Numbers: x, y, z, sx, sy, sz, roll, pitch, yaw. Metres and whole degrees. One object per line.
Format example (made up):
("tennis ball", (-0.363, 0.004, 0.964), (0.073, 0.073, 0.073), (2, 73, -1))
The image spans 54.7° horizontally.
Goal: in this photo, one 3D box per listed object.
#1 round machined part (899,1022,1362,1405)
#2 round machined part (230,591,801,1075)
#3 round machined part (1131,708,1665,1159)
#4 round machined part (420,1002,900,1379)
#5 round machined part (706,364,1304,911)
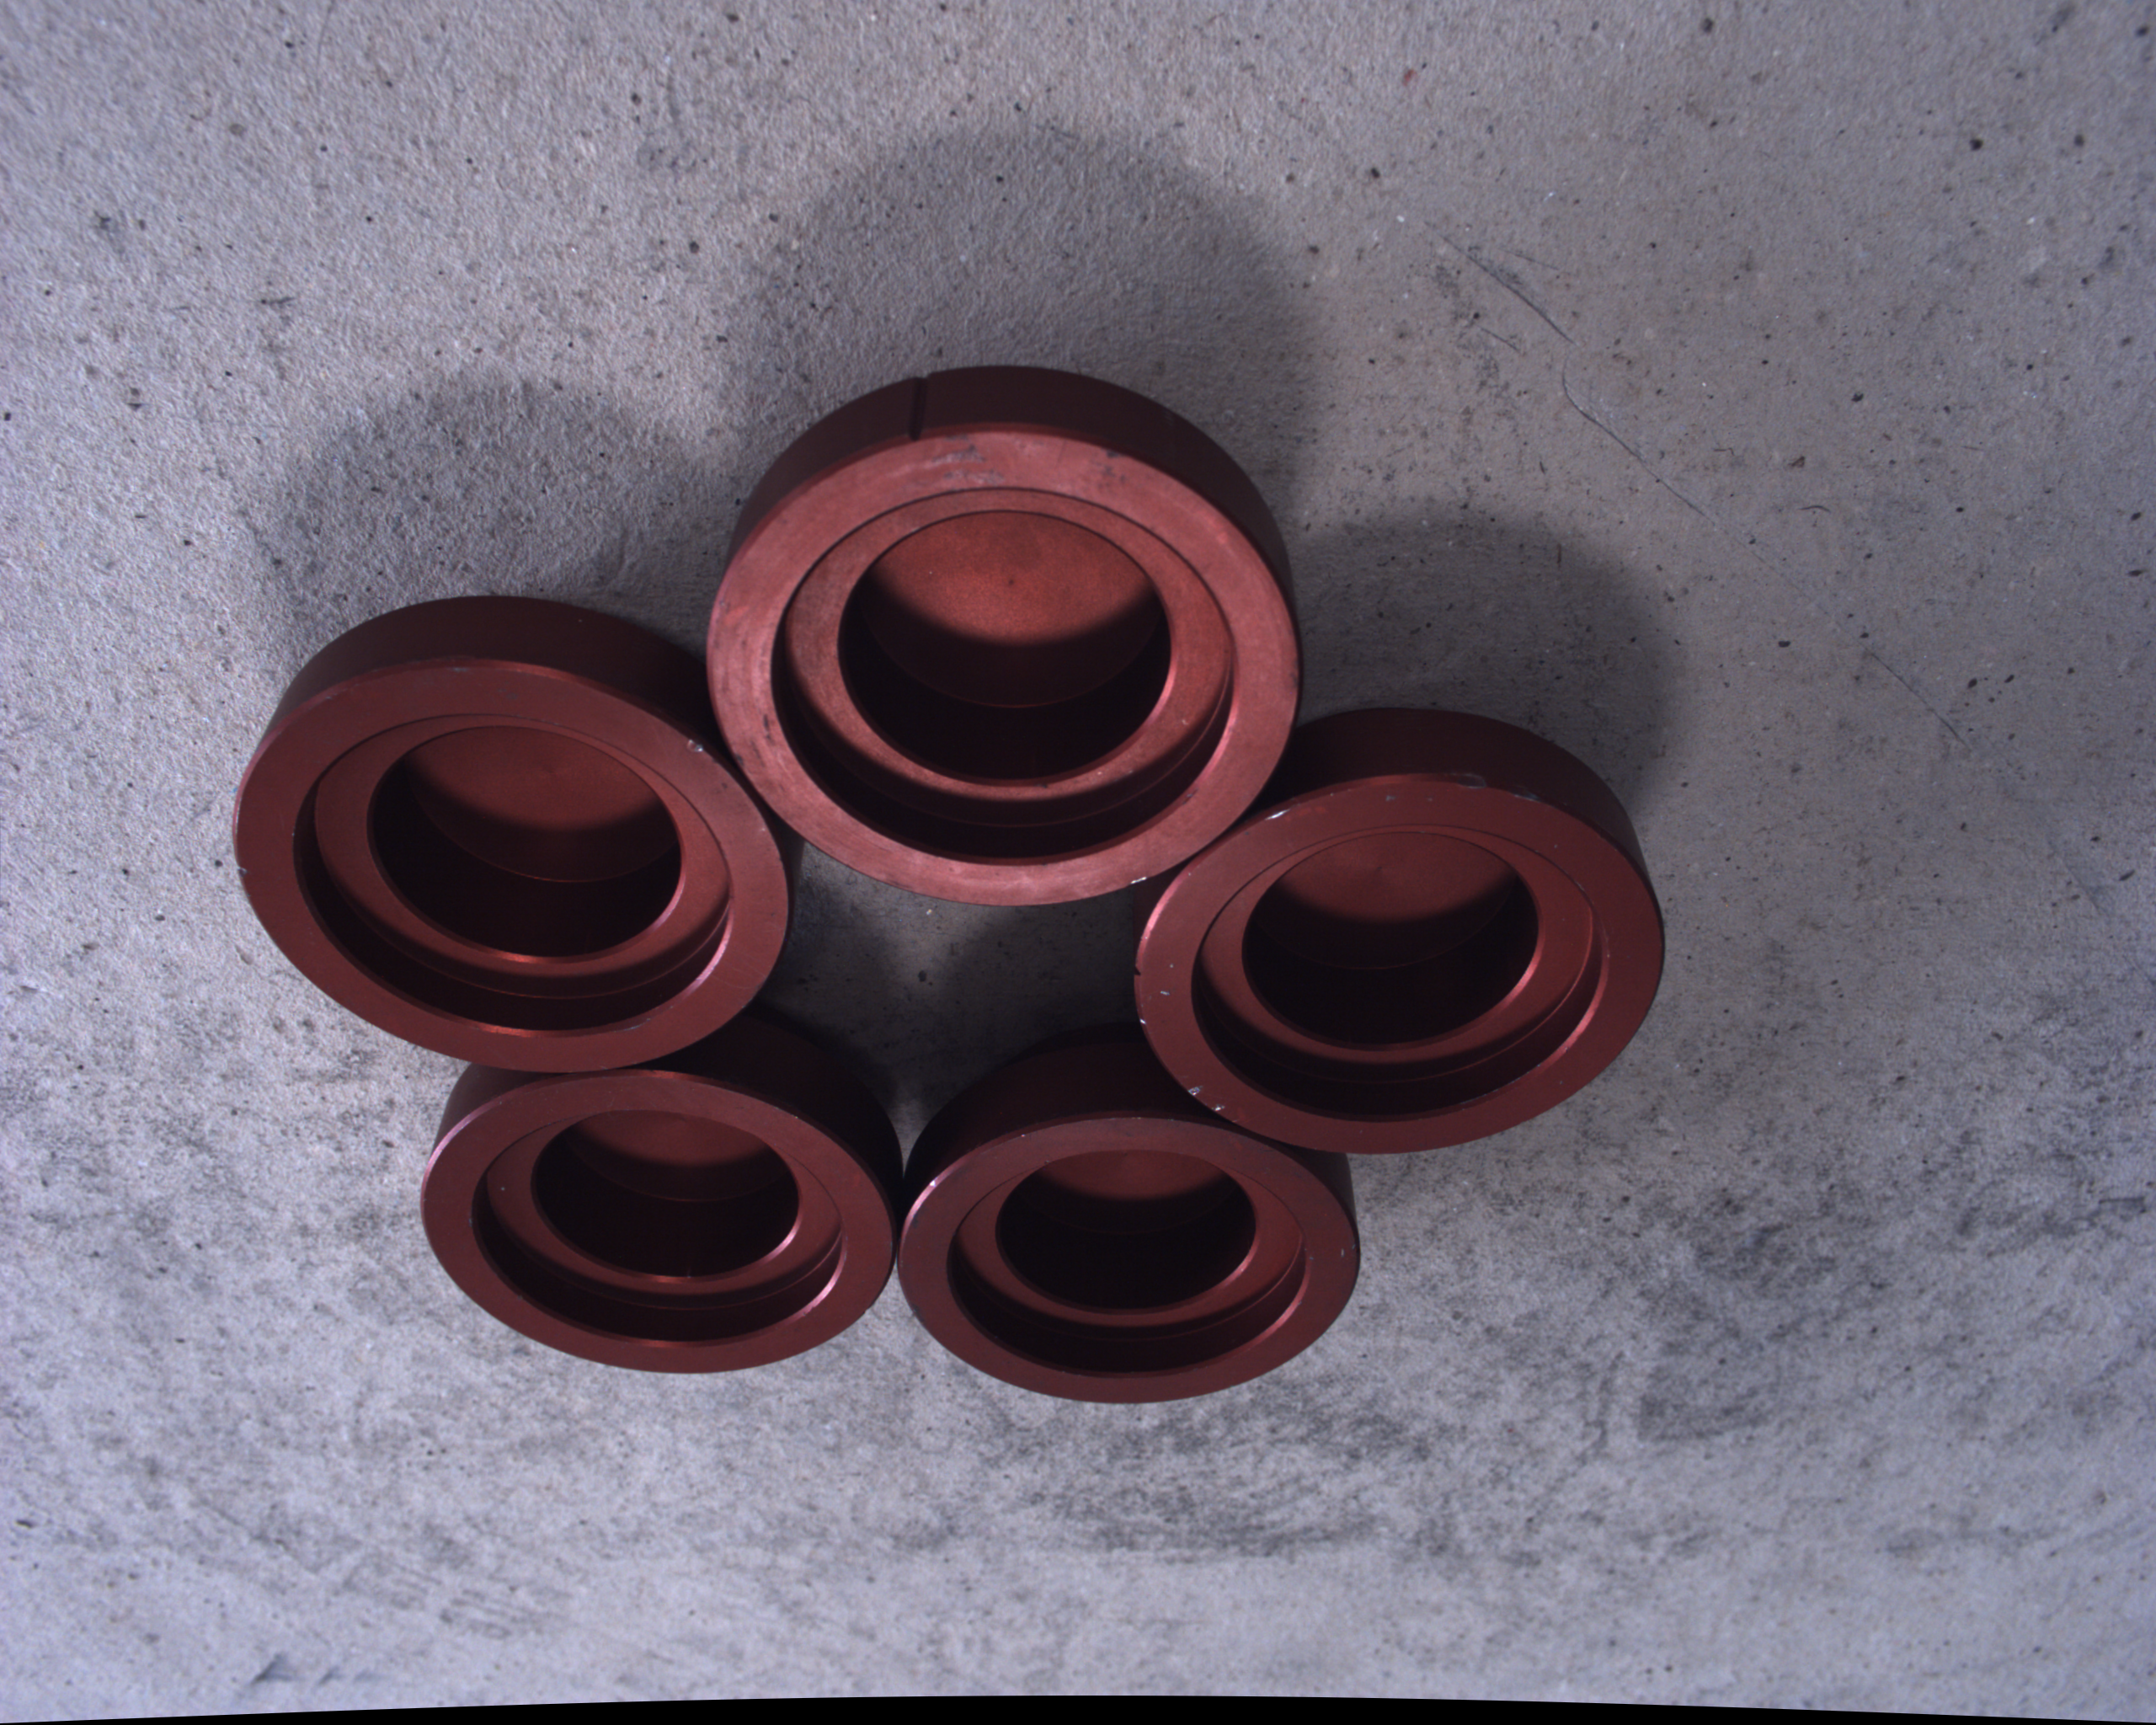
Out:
("round machined part", (0.011, 0.073, 0.460), (0.099, 0.042, 0.097), (-1, 130, -1))
("round machined part", (-0.101, -0.009, 0.388), (0.099, 0.042, 0.097), (-1, 129, 0))
("round machined part", (0.059, 0.009, 0.405), (0.099, 0.042, 0.097), (-1, 129, -1))
("round machined part", (-0.087, 0.065, 0.451), (0.099, 0.042, 0.097), (-1, 129, -1))
("round machined part", (-0.012, -0.042, 0.361), (0.099, 0.042, 0.097), (-1, 129, -1))
